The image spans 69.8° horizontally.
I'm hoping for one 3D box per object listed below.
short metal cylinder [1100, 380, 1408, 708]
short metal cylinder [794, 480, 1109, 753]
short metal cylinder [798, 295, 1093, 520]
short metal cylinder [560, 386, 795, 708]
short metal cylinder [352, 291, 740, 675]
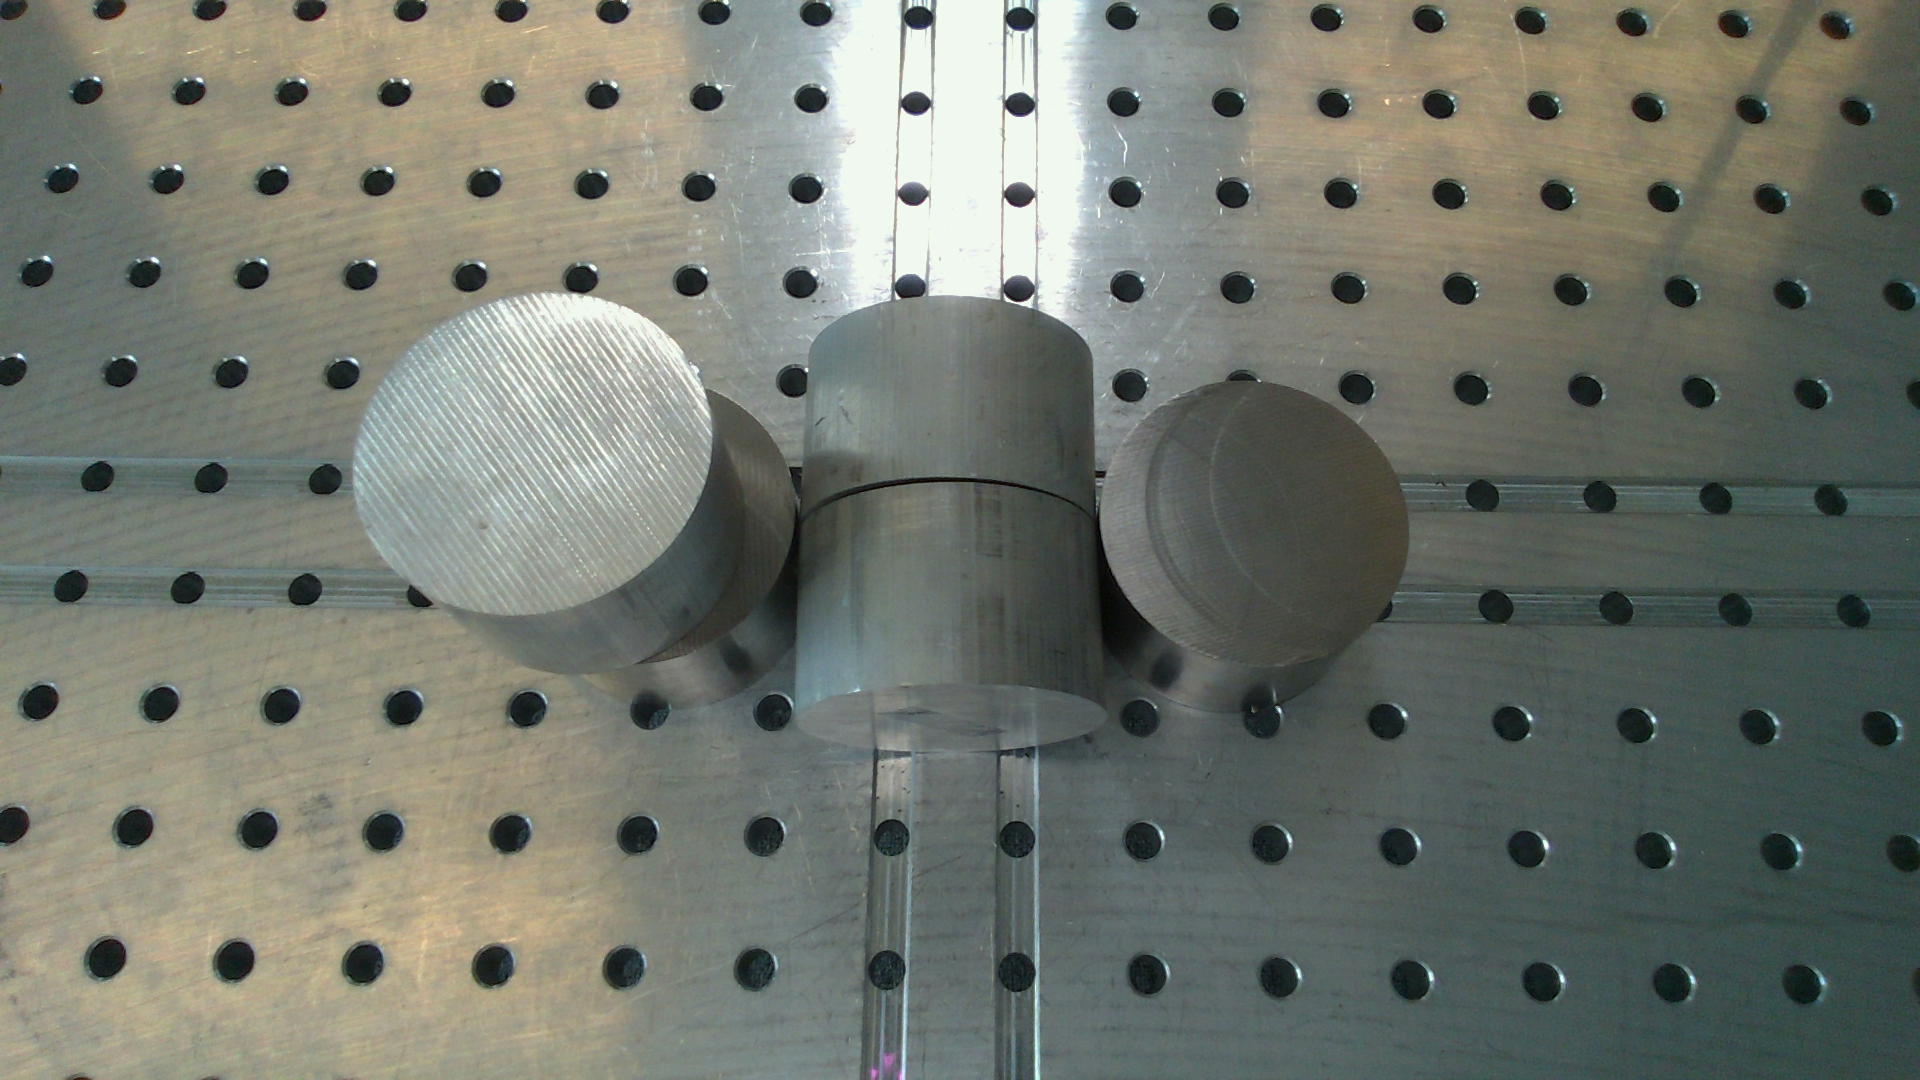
[{"bbox_3d":[0.077,0.003,0.382,0.080,0.050,0.080,0,70,0],"label":"short metal cylinder"},{"bbox_3d":[-0.003,0.023,0.359,0.080,0.080,0.050,-1,70,0],"label":"short metal cylinder"},{"bbox_3d":[-0.003,-0.025,0.378,0.080,0.080,0.050,1,71,0],"label":"short metal cylinder"},{"bbox_3d":[-0.083,0.002,0.383,0.080,0.050,0.080,0,70,0],"label":"short metal cylinder"},{"bbox_3d":[-0.096,-0.012,0.333,0.080,0.050,0.080,0,70,0],"label":"short metal cylinder"}]
